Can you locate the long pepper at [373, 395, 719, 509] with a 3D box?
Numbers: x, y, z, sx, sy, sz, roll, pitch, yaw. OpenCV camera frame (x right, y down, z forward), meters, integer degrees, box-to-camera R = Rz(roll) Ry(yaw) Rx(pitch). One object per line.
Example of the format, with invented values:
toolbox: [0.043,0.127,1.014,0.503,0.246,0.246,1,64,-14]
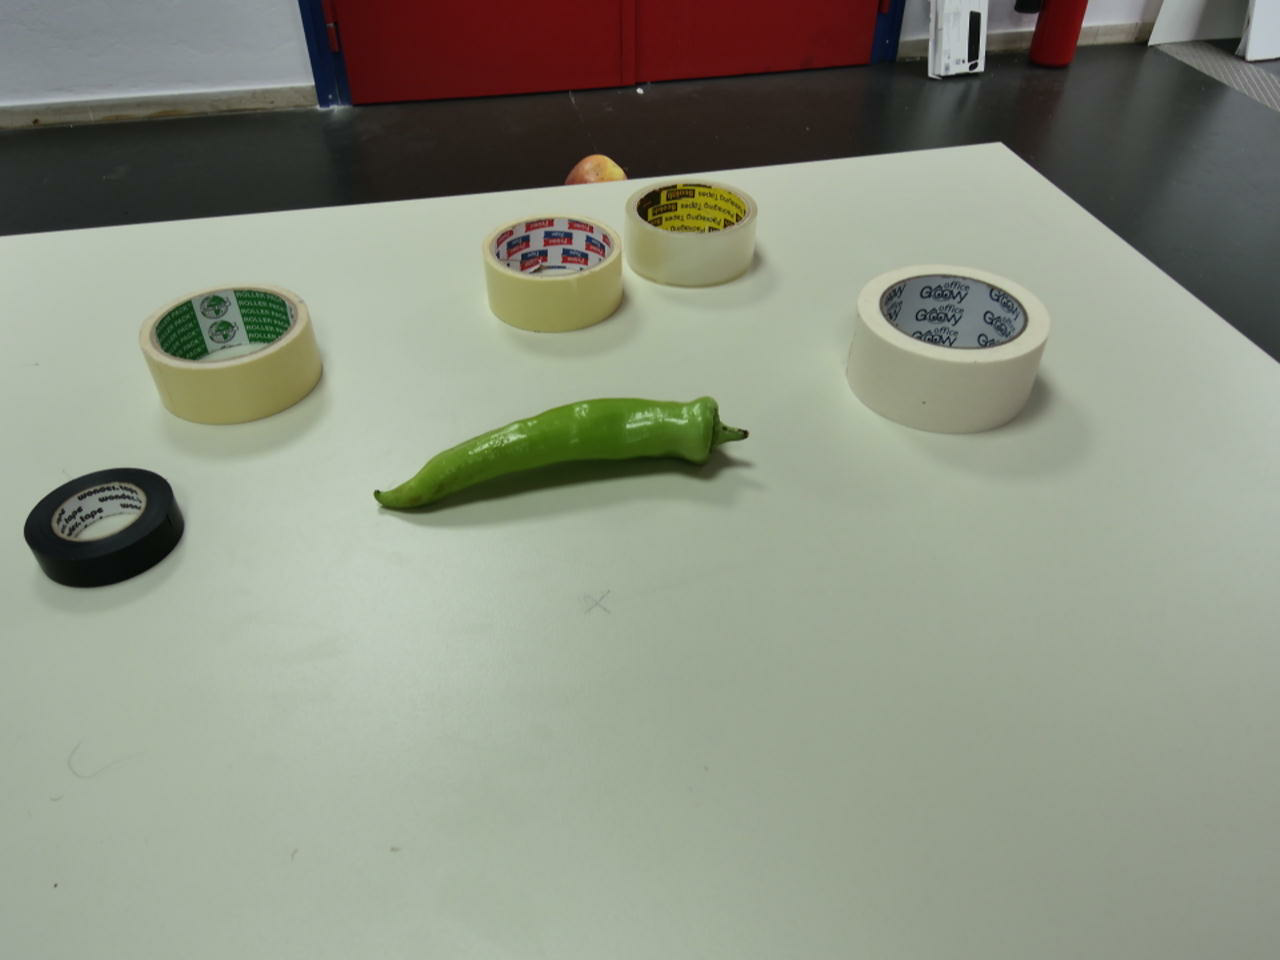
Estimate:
long pepper: [-0.045,-0.020,0.538,0.197,0.038,0.046,-7,40,-9]
